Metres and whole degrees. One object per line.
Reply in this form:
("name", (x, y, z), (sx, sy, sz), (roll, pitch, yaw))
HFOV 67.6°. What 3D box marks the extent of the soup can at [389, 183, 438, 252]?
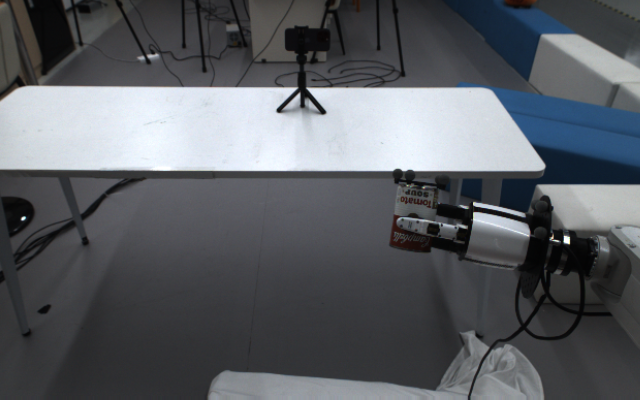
("soup can", (0.152, 0.026, 0.774), (0.067, 0.101, 0.067), (7, 4, 0))
